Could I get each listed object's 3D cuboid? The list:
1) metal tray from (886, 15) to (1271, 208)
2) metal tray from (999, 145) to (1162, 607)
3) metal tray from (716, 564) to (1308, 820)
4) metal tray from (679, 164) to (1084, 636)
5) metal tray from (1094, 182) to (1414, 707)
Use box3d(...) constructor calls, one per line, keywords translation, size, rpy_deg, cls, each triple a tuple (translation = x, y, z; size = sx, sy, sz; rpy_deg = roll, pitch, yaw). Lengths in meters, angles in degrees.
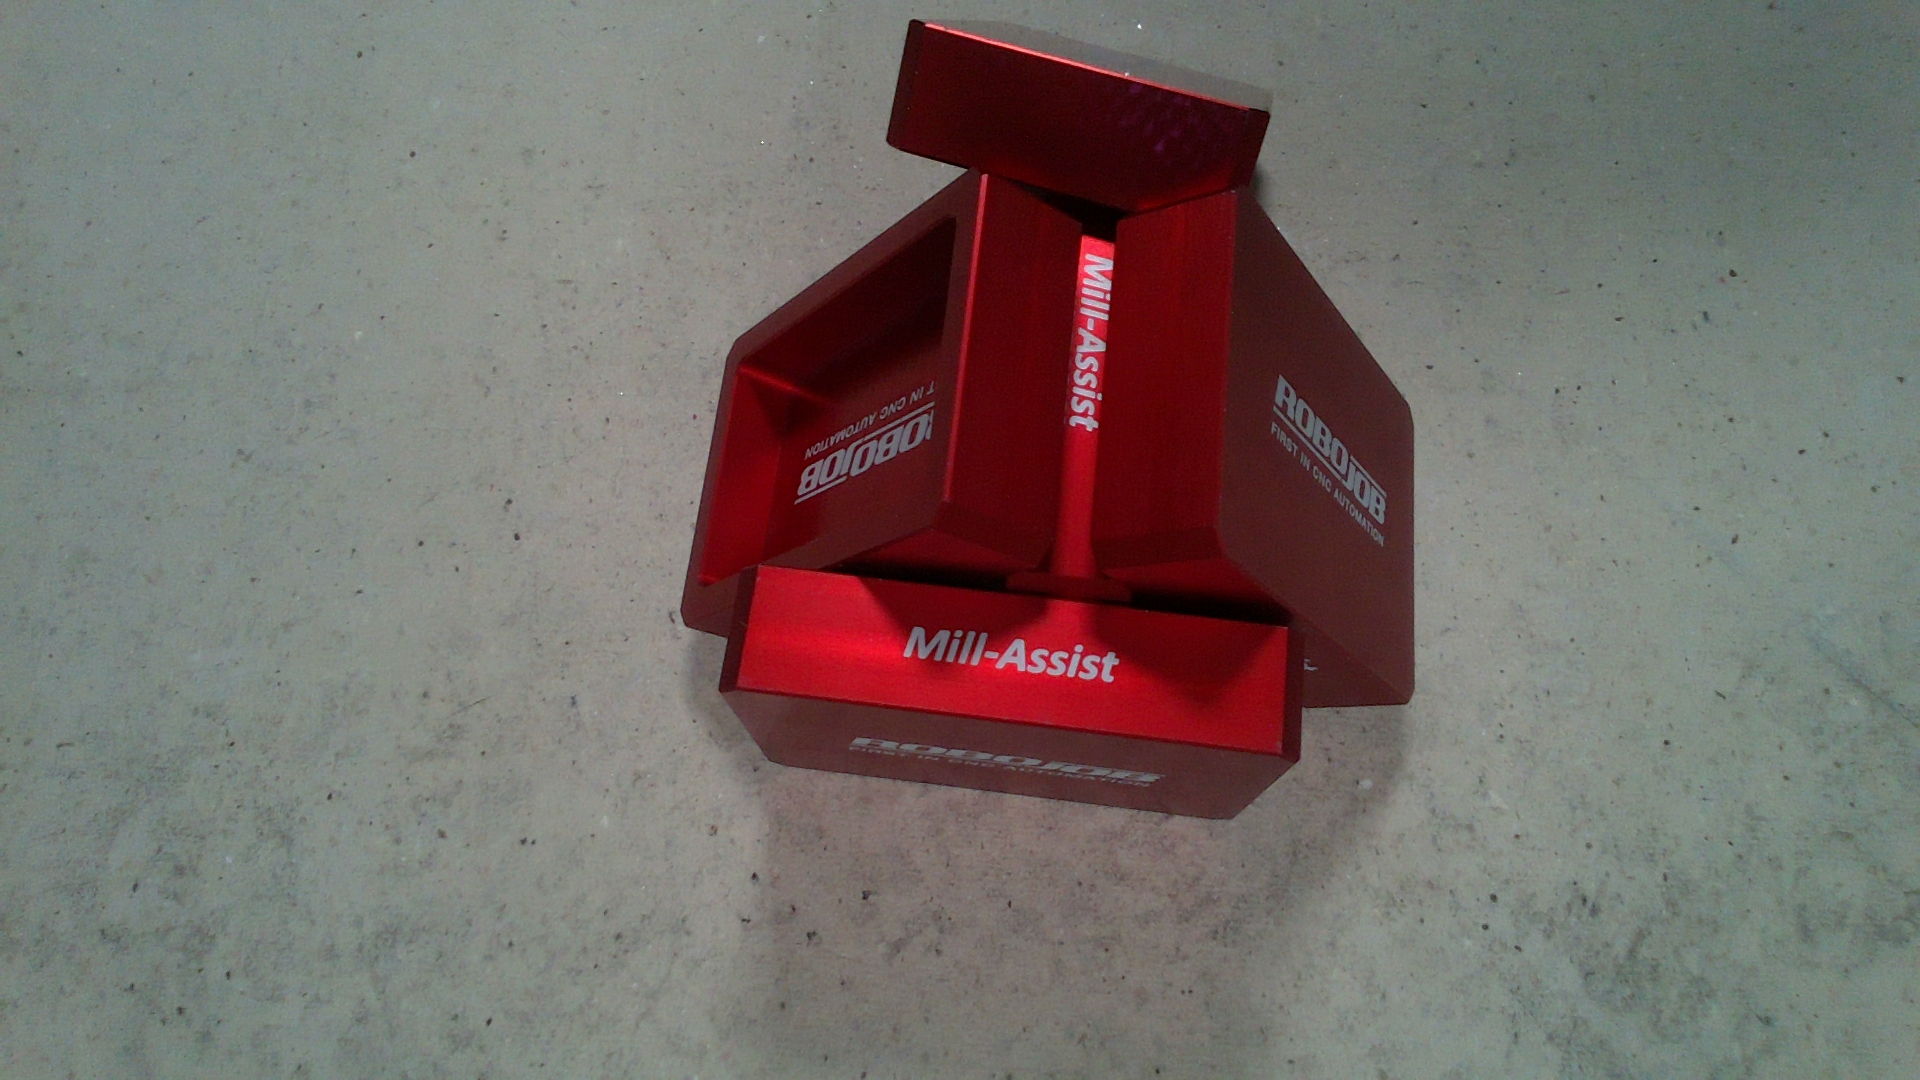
box3d(translation=(0.040, -0.121, 0.390), size=(0.090, 0.130, 0.030), rpy_deg=(17, 112, 6), cls="metal tray")
box3d(translation=(0.032, -0.033, 0.372), size=(0.030, 0.090, 0.130), rpy_deg=(7, 70, 3), cls="metal tray")
box3d(translation=(0.012, 0.041, 0.345), size=(0.130, 0.090, 0.030), rpy_deg=(7, 70, 2), cls="metal tray")
box3d(translation=(-0.024, -0.027, 0.353), size=(0.030, 0.129, 0.090), rpy_deg=(19, 66, -32), cls="metal tray")
box3d(translation=(0.081, -0.017, 0.348), size=(0.030, 0.130, 0.090), rpy_deg=(-7, 66, 33), cls="metal tray")
